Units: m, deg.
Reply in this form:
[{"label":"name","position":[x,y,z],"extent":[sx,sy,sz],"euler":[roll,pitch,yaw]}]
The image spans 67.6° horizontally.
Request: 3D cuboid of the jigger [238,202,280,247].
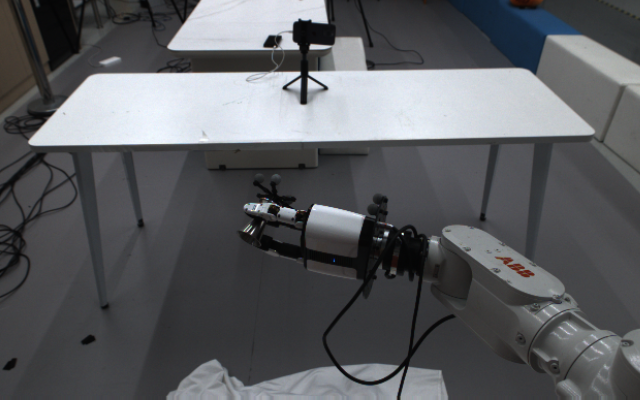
[{"label":"jigger","position":[-0.098,0.031,0.770],"extent":[0.043,0.043,0.071],"euler":[19,61,23]}]
